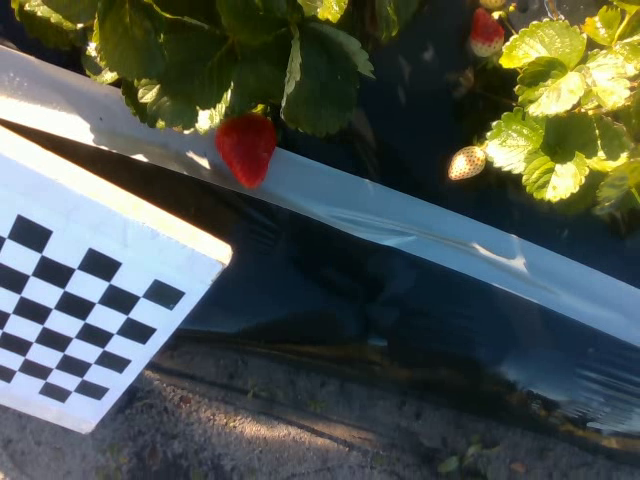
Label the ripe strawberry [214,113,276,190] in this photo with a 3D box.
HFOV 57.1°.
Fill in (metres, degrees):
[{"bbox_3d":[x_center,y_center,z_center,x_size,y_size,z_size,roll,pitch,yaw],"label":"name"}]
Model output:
[{"bbox_3d":[-0.050,-0.062,0.396,0.045,0.064,0.048,-22,-27,24],"label":"ripe strawberry"}]
